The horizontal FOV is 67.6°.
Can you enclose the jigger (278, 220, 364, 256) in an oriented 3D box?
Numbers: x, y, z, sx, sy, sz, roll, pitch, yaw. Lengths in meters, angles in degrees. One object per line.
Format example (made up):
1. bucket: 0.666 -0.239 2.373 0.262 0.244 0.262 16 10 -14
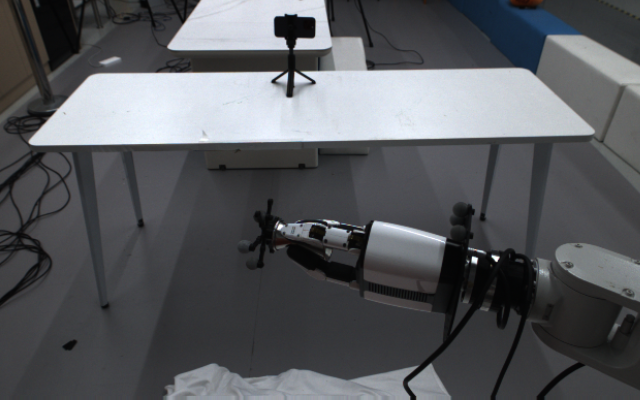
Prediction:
1. jigger: -0.013 0.044 0.594 0.071 0.043 0.043 8 35 15
